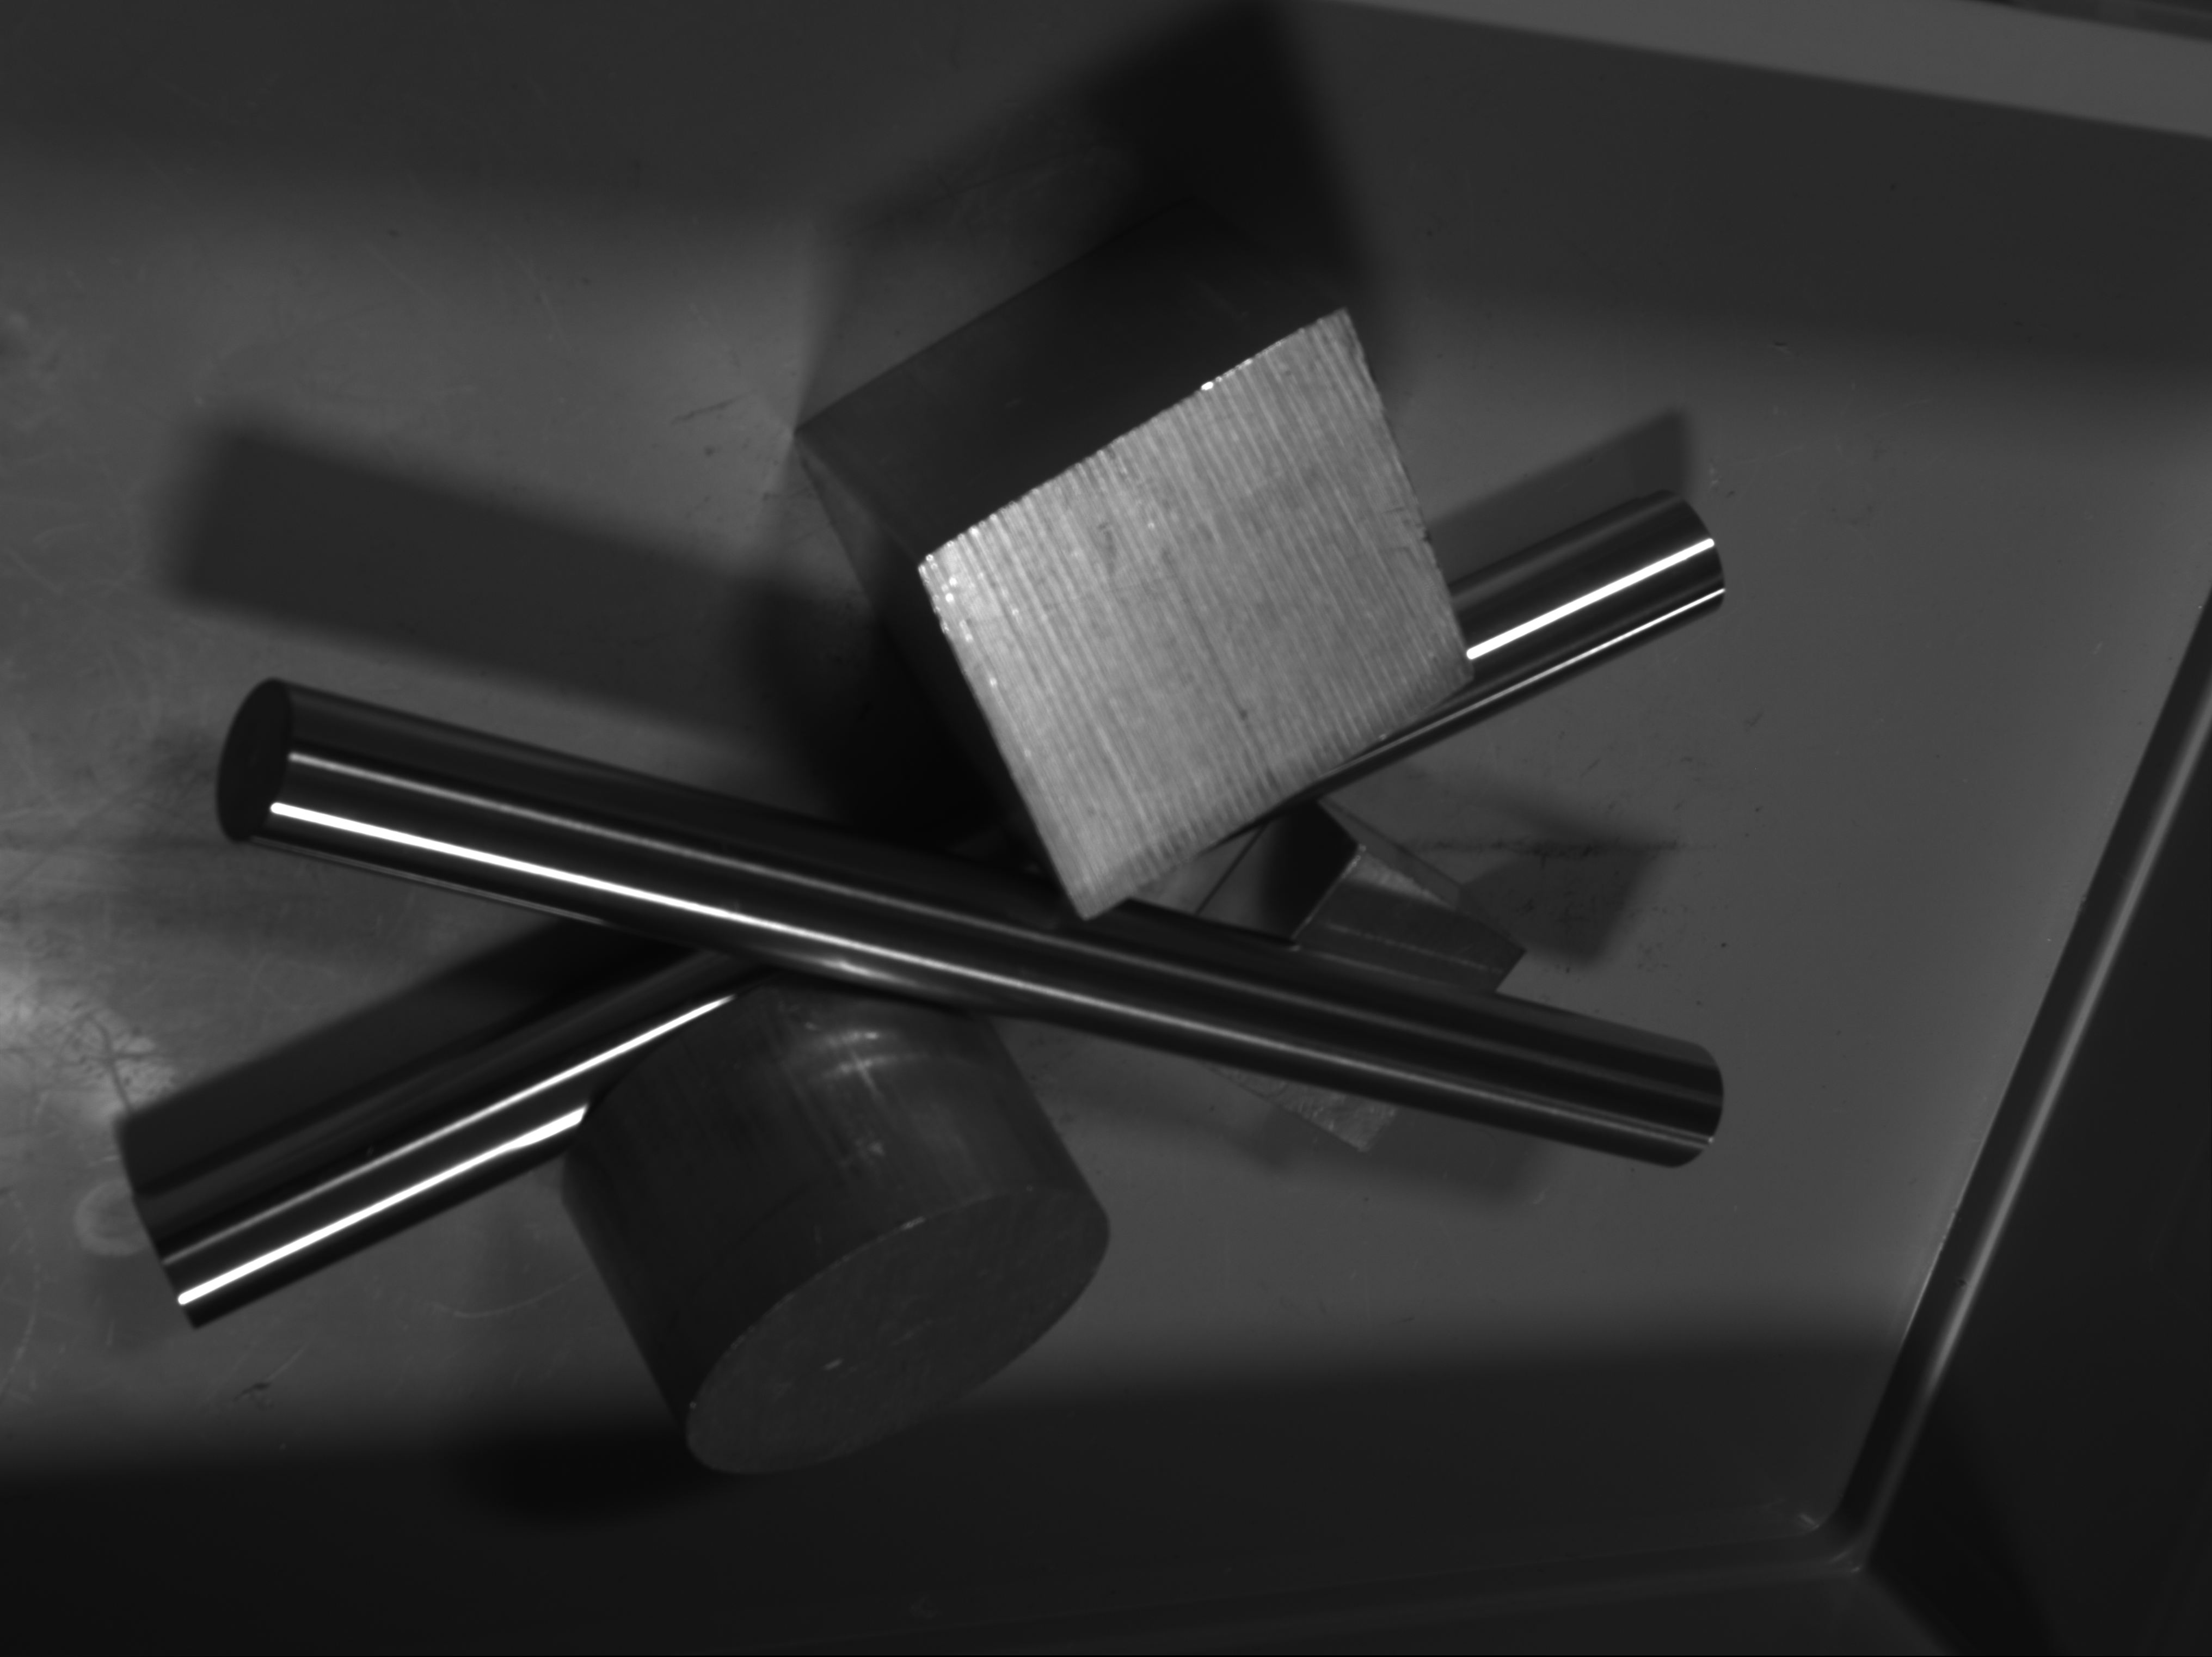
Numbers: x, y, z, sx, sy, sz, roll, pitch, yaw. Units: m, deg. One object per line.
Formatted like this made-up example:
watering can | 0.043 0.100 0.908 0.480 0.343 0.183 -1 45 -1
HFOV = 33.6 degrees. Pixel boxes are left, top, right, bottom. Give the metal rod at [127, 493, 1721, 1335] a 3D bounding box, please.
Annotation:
metal rod | -0.024 0.011 0.641 0.300 0.025 0.025 -25 128 -15

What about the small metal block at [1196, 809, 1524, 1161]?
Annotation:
small metal block | 0.042 0.028 0.689 0.050 0.025 0.050 31 100 -39

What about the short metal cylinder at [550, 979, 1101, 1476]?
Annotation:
short metal cylinder | -0.048 0.067 0.628 0.080 0.050 0.080 -26 152 -14

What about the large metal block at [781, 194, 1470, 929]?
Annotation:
large metal block | 0.005 -0.044 0.608 0.080 0.050 0.080 -32 129 -10

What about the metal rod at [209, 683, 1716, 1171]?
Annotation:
metal rod | -0.008 0.023 0.626 0.301 0.025 0.025 15 110 -36
